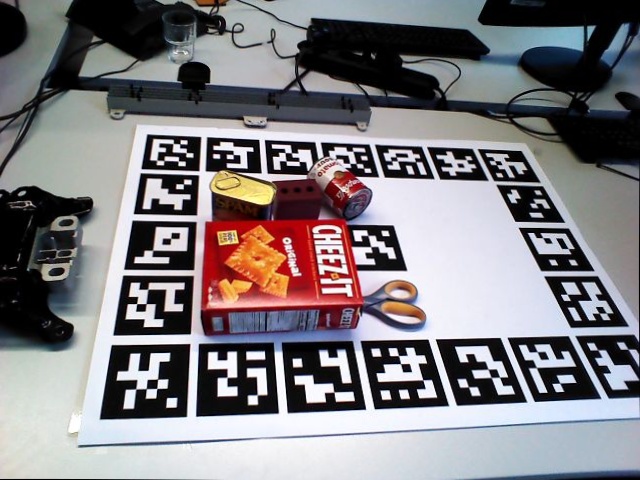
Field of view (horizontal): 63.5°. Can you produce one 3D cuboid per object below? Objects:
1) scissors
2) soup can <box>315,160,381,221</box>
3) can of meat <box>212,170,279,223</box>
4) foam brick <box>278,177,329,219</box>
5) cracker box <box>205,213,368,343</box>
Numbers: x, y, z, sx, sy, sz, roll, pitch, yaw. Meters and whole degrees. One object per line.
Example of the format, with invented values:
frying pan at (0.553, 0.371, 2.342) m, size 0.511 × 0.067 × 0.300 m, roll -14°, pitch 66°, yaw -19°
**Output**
scissors at (0.063, 0.094, 0.755) m, size 0.202 × 0.016 × 0.087 m, roll -3°, pitch 51°, yaw -12°
soup can at (0.048, -0.088, 0.901) m, size 0.067 × 0.068 × 0.102 m, roll -33°, pitch 56°, yaw -31°
can of meat at (-0.118, -0.056, 0.821) m, size 0.102 × 0.084 × 0.057 m, roll 11°, pitch 49°, yaw -1°
foam brick at (-0.030, -0.067, 0.871) m, size 0.078 × 0.051 × 0.052 m, roll -8°, pitch 52°, yaw -16°
cracker box at (-0.051, 0.046, 0.735) m, size 0.213 × 0.072 × 0.163 m, roll -6°, pitch 50°, yaw -10°
